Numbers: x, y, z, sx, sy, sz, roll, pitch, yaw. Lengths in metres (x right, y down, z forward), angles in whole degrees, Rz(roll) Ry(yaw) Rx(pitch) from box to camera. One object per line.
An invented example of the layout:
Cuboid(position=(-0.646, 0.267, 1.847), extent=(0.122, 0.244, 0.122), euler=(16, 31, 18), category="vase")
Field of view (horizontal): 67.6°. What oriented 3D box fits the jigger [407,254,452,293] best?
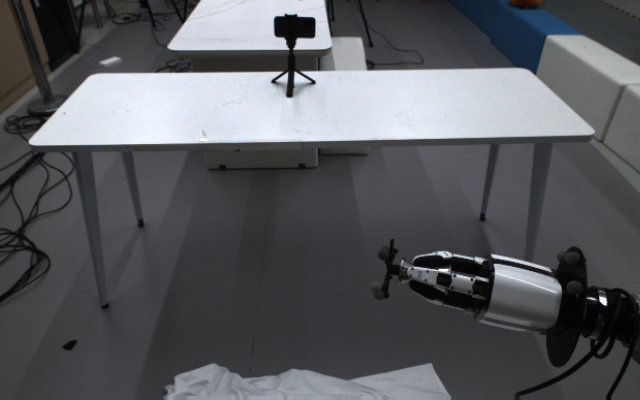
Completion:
Cuboid(position=(0.155, 0.102, 0.685), extent=(0.071, 0.043, 0.043), euler=(8, 35, 15), category="jigger")
